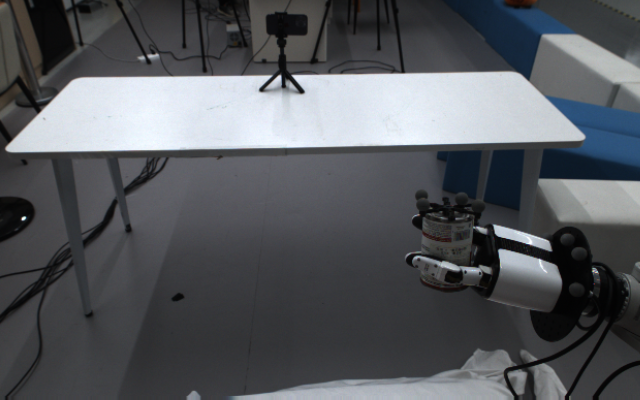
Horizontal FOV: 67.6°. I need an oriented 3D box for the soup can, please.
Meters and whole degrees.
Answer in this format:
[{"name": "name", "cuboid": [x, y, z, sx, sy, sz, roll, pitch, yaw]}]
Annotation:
[{"name": "soup can", "cuboid": [0.173, 0.064, 0.655, 0.067, 0.101, 0.067, -1, 17, 0]}]
